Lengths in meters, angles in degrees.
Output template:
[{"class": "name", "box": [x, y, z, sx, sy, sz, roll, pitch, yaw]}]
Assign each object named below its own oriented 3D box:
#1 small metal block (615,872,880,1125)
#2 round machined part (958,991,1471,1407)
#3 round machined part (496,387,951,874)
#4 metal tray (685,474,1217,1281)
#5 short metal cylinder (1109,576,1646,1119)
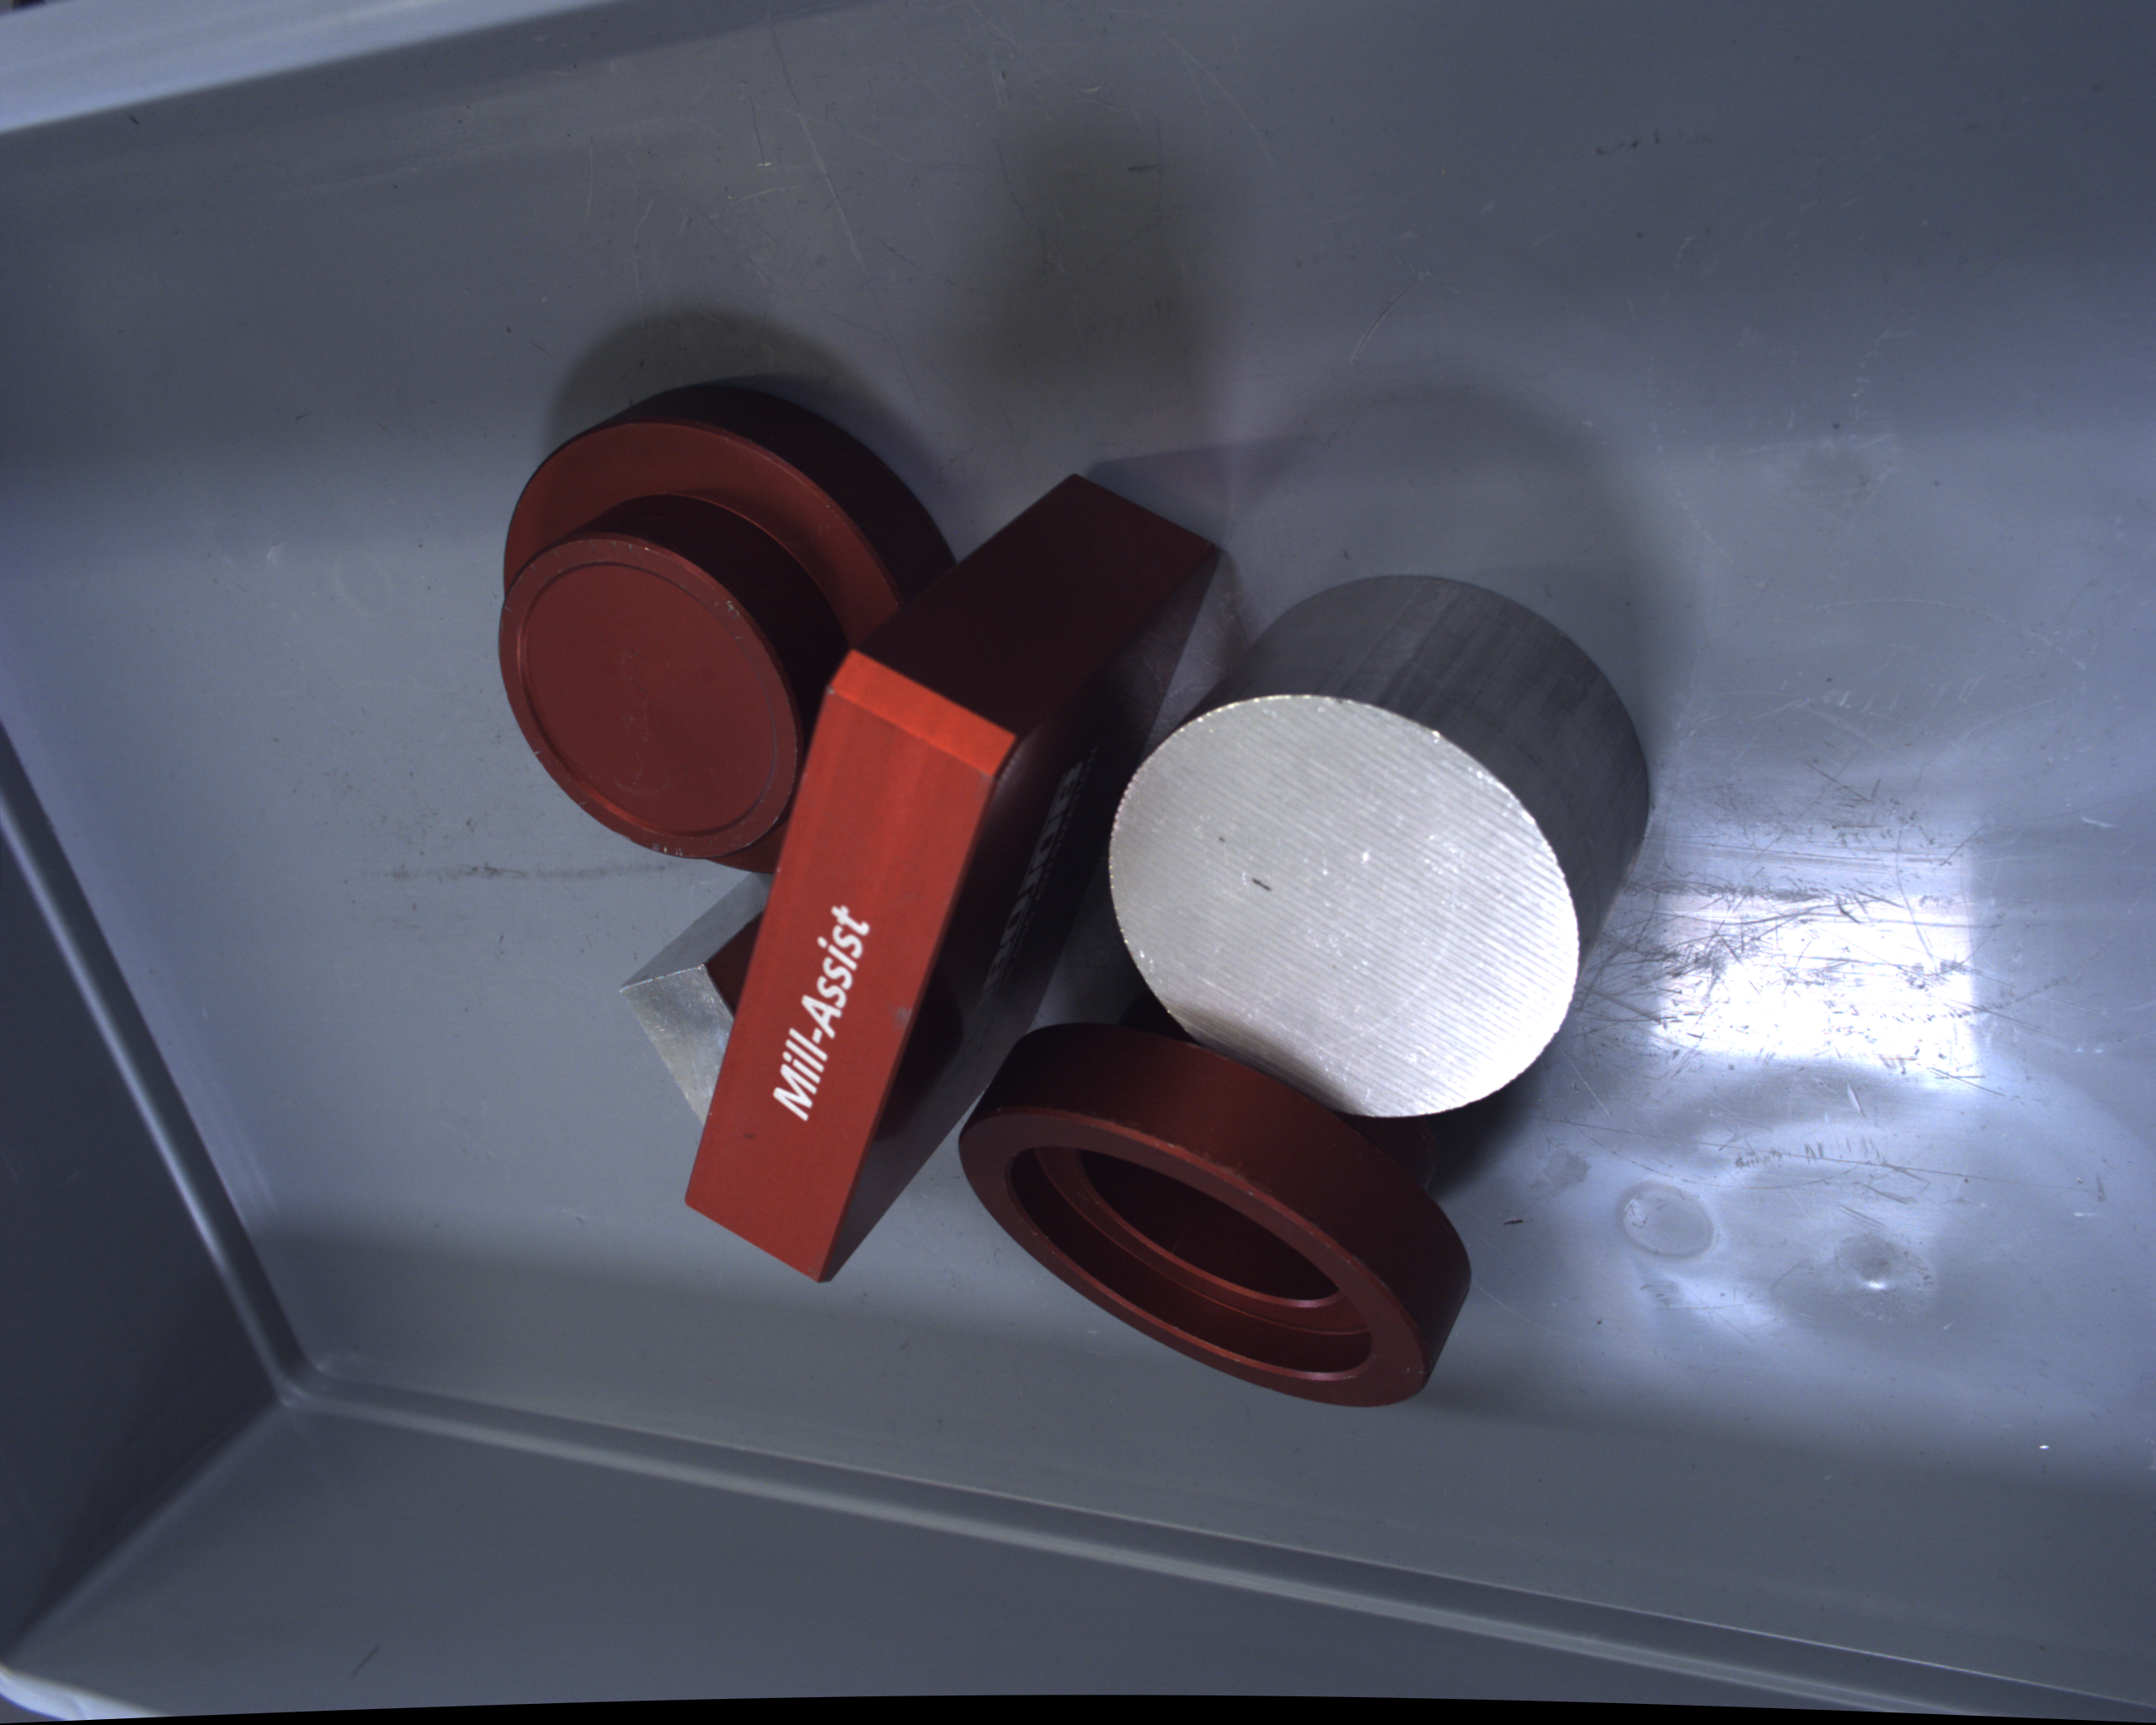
[{"class": "small metal block", "box": [-0.062, 0.032, 0.442, 0.025, 0.050, 0.050, -16, 110, 34]}, {"class": "round machined part", "box": [0.030, 0.060, 0.402, 0.098, 0.042, 0.098, 23, 151, 14]}, {"class": "round machined part", "box": [-0.073, -0.039, 0.408, 0.098, 0.042, 0.097, 13, 124, 21]}, {"class": "metal tray", "box": [-0.024, 0.004, 0.379, 0.030, 0.090, 0.129, 29, 128, 10]}, {"class": "short metal cylinder", "box": [0.052, -0.003, 0.360, 0.080, 0.050, 0.079, 13, 124, 21]}]
